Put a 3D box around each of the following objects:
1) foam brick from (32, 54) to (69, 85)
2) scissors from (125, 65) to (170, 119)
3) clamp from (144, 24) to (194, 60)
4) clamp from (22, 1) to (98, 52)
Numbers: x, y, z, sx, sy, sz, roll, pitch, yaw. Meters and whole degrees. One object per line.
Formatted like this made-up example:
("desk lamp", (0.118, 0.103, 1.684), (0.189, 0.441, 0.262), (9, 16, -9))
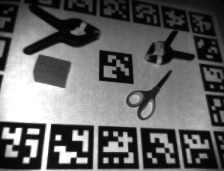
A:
("foam brick", (-0.154, -0.039, 0.554), (0.078, 0.051, 0.052), (10, 67, -6))
("scissors", (0.117, 0.002, 0.627), (0.088, 0.016, 0.204), (44, 62, -4))
("clamp", (0.176, -0.129, 0.694), (0.166, 0.036, 0.121), (-24, 83, -22))
("clamp", (-0.141, -0.162, 0.614), (0.204, 0.036, 0.164), (1, 65, -16))
